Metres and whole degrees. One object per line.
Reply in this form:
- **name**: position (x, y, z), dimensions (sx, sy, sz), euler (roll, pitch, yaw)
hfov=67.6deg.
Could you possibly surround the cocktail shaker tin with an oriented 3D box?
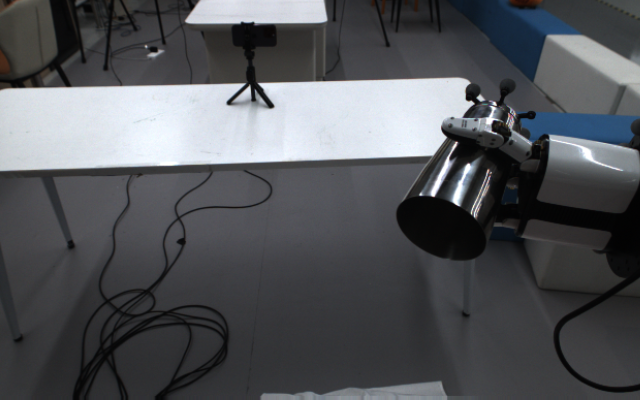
- **cocktail shaker tin**: position (0.161, -0.034, 0.514), dimensions (0.093, 0.093, 0.170), euler (19, 54, 22)
